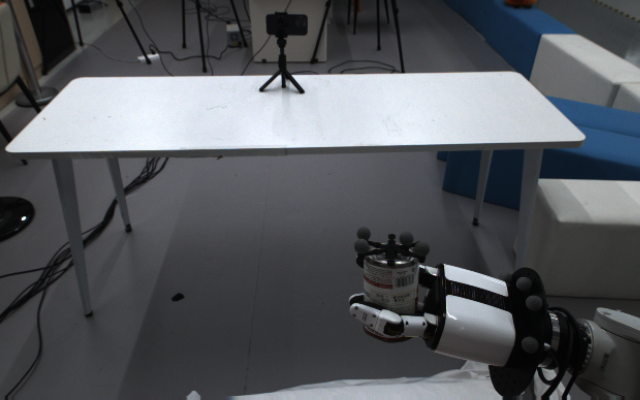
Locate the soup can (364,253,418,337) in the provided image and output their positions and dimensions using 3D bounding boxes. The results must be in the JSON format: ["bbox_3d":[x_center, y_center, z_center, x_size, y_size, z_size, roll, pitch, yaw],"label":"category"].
[{"bbox_3d":[0.088,0.112,0.590,0.067,0.101,0.067,-1,16,0],"label":"soup can"}]
